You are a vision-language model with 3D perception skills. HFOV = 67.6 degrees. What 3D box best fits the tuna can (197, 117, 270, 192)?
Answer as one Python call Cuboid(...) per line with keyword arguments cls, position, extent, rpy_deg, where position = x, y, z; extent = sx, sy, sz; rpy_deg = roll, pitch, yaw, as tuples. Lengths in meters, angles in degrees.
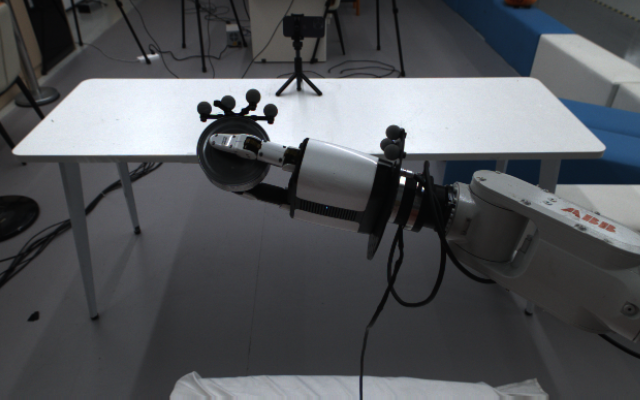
Cuboid(cls="tuna can", position=(-0.097, -0.055, 0.571), extent=(0.085, 0.034, 0.085), rpy_deg=(1, 70, -3))
